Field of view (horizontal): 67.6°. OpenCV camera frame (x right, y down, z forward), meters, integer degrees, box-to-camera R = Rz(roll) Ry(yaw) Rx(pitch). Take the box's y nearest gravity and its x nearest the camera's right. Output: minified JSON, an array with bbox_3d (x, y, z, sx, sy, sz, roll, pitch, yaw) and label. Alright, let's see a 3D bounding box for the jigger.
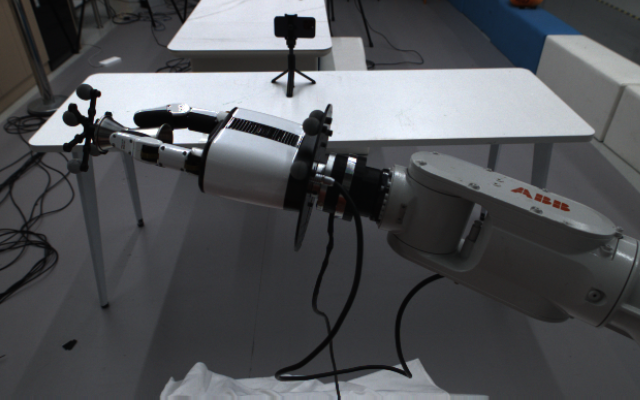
[{"bbox_3d":[-0.192,-0.067,0.523,0.071,0.043,0.043,10,35,2],"label":"jigger"}]
